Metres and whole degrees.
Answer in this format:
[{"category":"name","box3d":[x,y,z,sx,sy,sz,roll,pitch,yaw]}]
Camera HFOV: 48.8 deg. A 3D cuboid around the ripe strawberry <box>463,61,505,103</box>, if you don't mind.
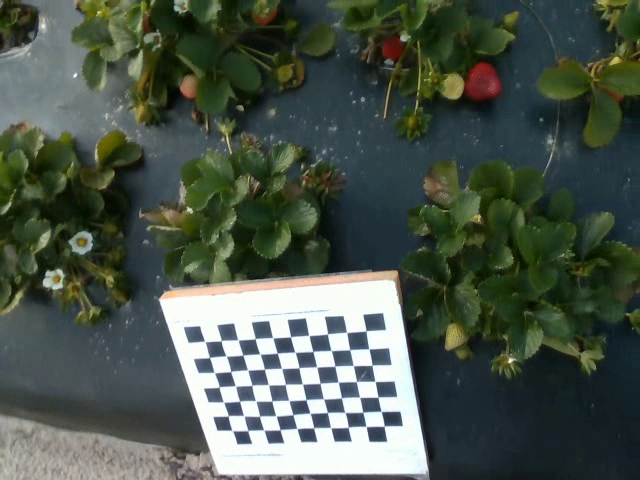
[{"category":"ripe strawberry","box3d":[0.216,-0.200,0.923,0.048,0.051,0.055,6,34,-27]}]
